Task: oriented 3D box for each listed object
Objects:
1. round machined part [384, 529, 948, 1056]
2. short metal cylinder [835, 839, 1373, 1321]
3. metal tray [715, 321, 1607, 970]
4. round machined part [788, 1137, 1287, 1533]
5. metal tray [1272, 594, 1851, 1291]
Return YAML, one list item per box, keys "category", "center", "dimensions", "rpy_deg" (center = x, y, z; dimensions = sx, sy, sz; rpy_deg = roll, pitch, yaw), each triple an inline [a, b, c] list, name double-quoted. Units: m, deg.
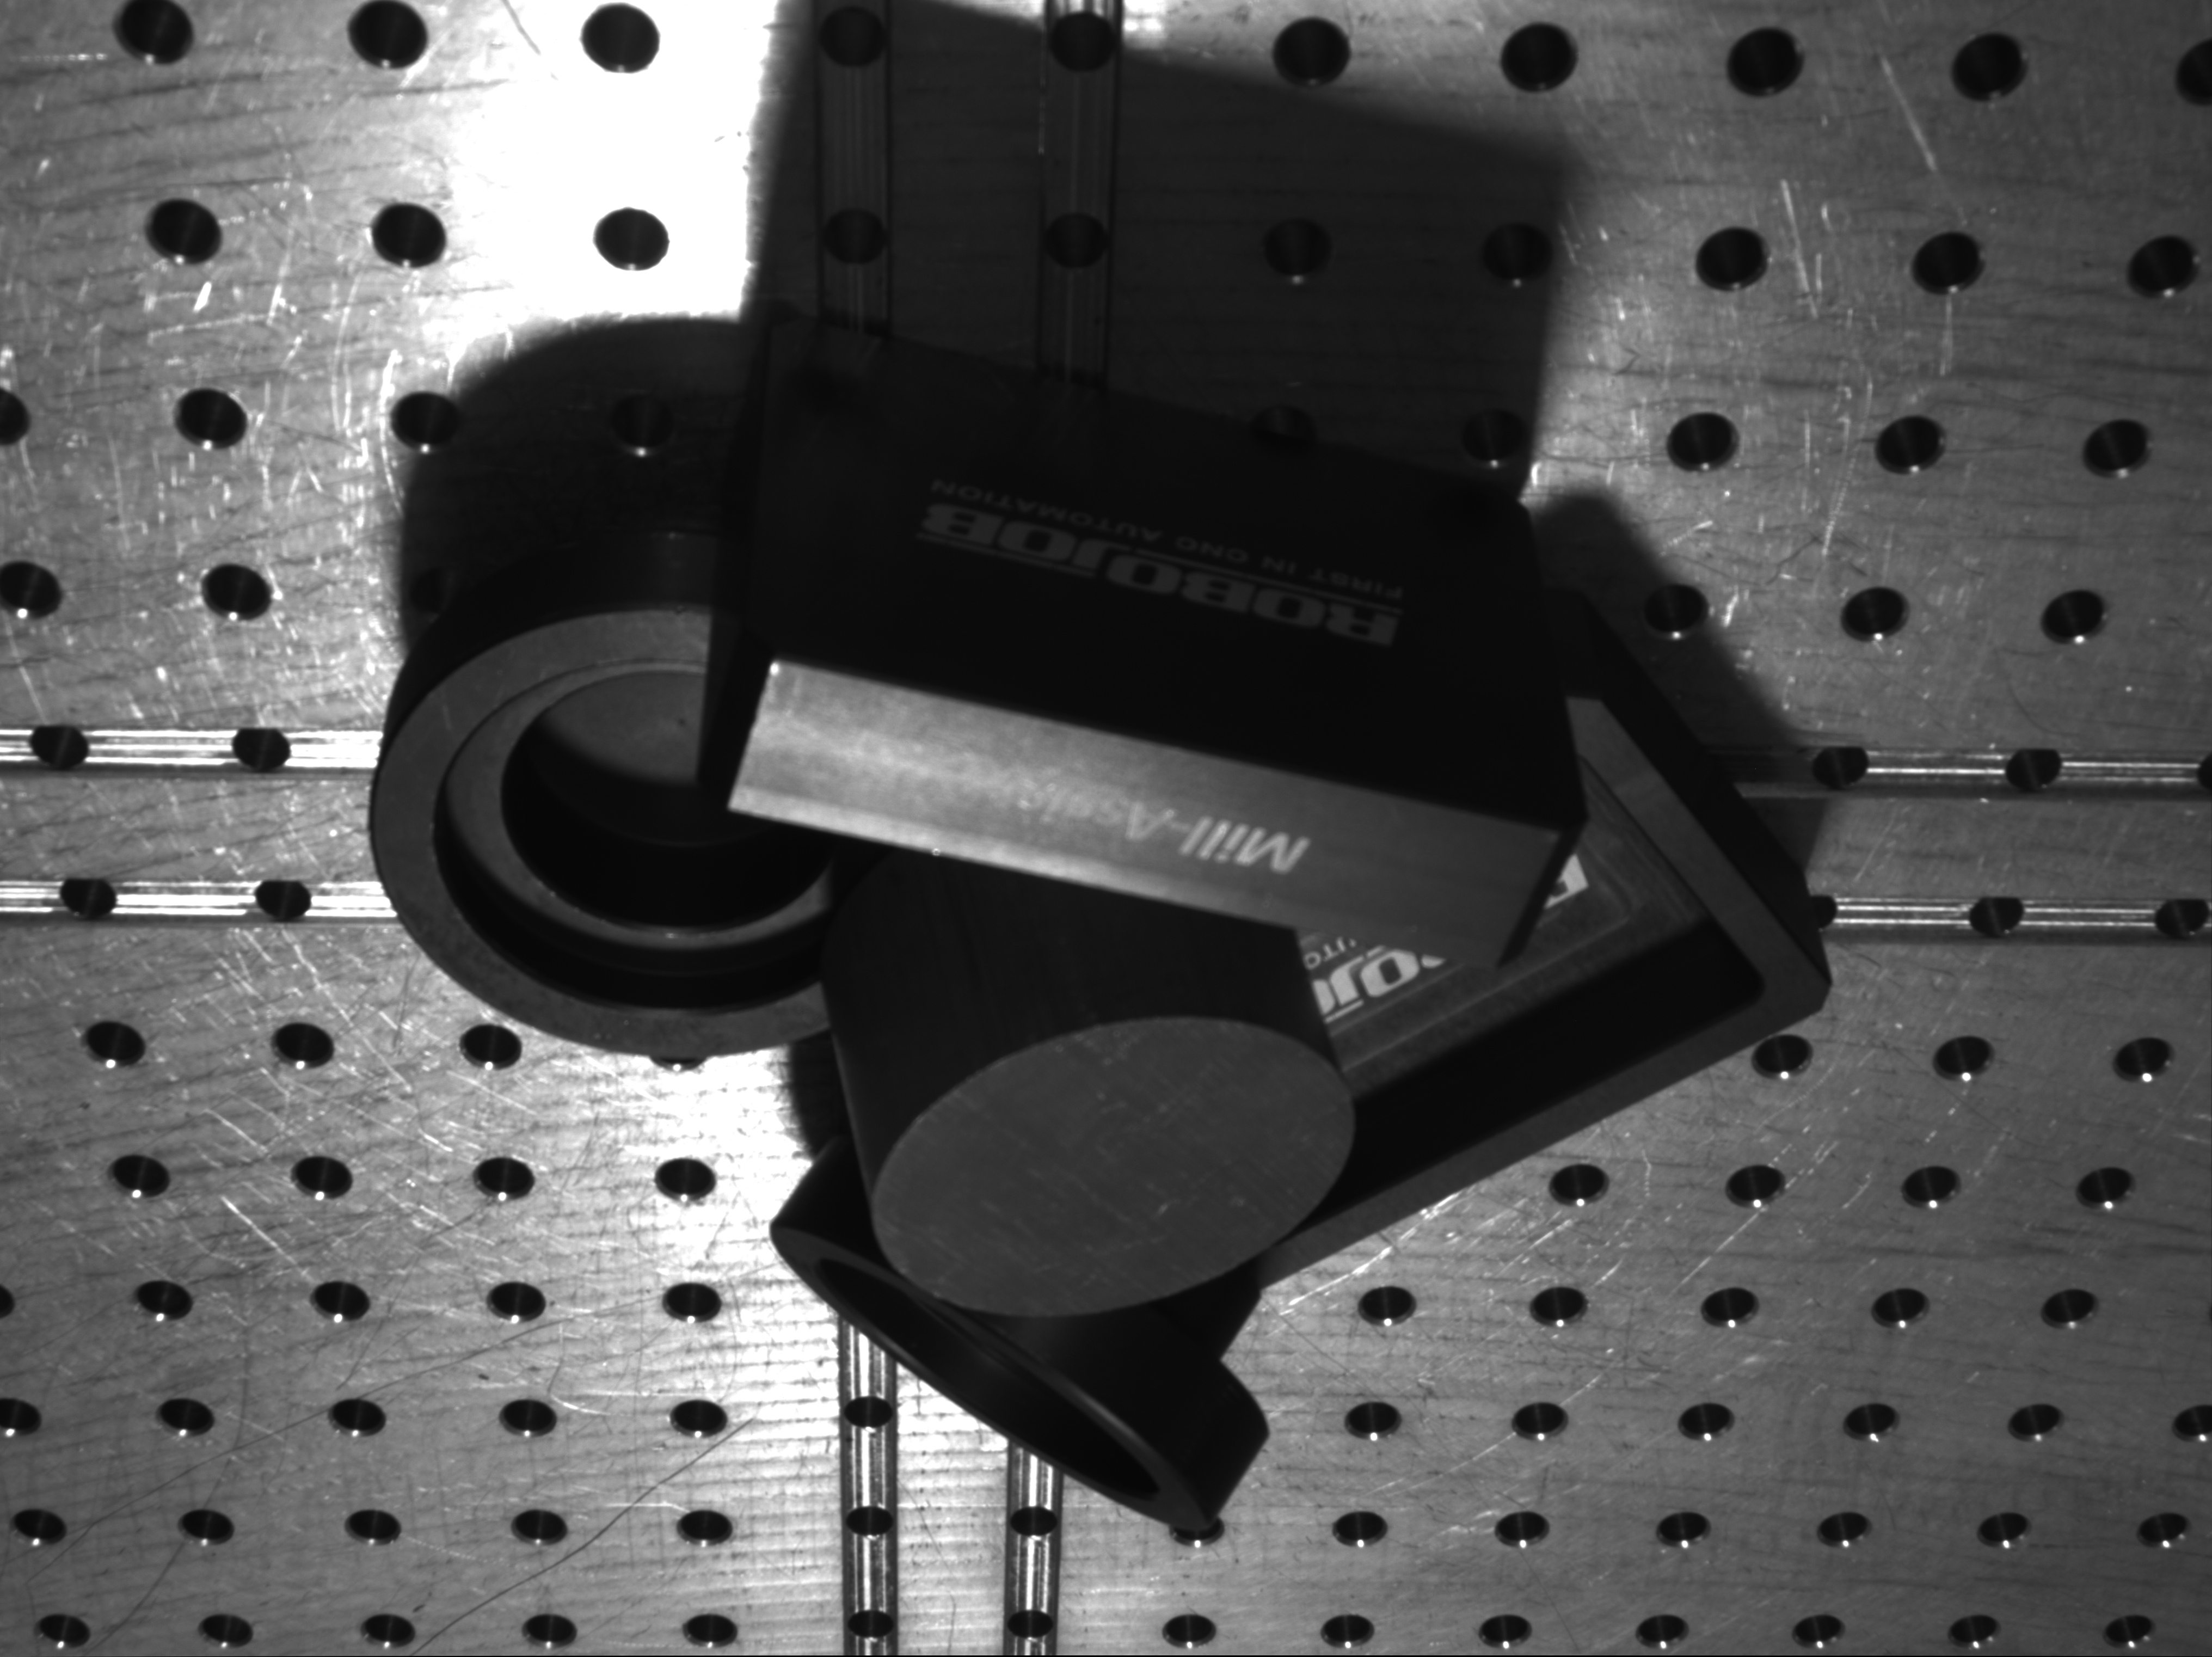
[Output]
- category: "round machined part"
  center: [-0.070, -0.011, 0.619]
  dimensions: [0.098, 0.042, 0.098]
  rpy_deg: [-1, 130, -1]
- category: "short metal cylinder"
  center: [-0.001, 0.038, 0.608]
  dimensions: [0.080, 0.050, 0.080]
  rpy_deg: [-10, 140, -8]
- category: "metal tray"
  center: [0.008, -0.030, 0.574]
  dimensions: [0.130, 0.090, 0.030]
  rpy_deg: [12, 129, -12]
- category: "round machined part"
  center: [-0.007, 0.085, 0.679]
  dimensions: [0.098, 0.042, 0.098]
  rpy_deg: [31, 163, 11]
- category: "metal tray"
  center: [0.055, 0.024, 0.659]
  dimensions: [0.130, 0.030, 0.090]
  rpy_deg: [-29, 125, 21]
